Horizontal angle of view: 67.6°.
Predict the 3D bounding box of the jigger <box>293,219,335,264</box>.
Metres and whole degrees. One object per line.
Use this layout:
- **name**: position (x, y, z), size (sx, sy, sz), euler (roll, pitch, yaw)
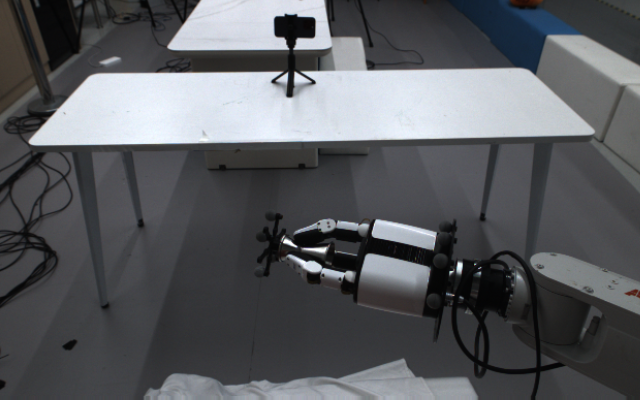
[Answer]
- **jigger**: position (-0.012, 0.070, 0.662), size (0.071, 0.043, 0.043), euler (10, 36, 15)
